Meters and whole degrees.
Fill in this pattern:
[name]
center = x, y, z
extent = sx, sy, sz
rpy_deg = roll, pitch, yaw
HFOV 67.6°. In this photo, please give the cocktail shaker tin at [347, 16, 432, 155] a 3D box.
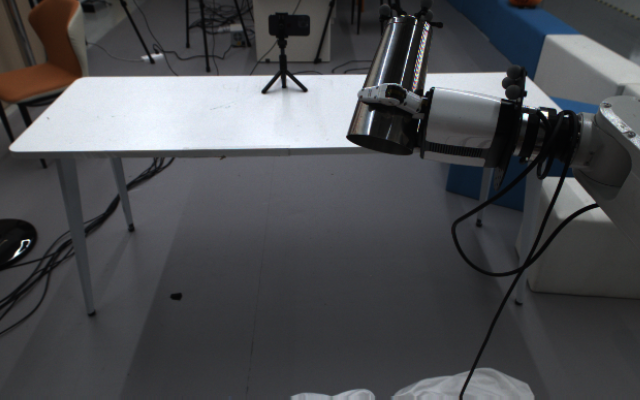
[cocktail shaker tin]
center = 0.101, -0.156, 0.659
extent = 0.093, 0.170, 0.093
rpy_deg = 15, -4, 1
